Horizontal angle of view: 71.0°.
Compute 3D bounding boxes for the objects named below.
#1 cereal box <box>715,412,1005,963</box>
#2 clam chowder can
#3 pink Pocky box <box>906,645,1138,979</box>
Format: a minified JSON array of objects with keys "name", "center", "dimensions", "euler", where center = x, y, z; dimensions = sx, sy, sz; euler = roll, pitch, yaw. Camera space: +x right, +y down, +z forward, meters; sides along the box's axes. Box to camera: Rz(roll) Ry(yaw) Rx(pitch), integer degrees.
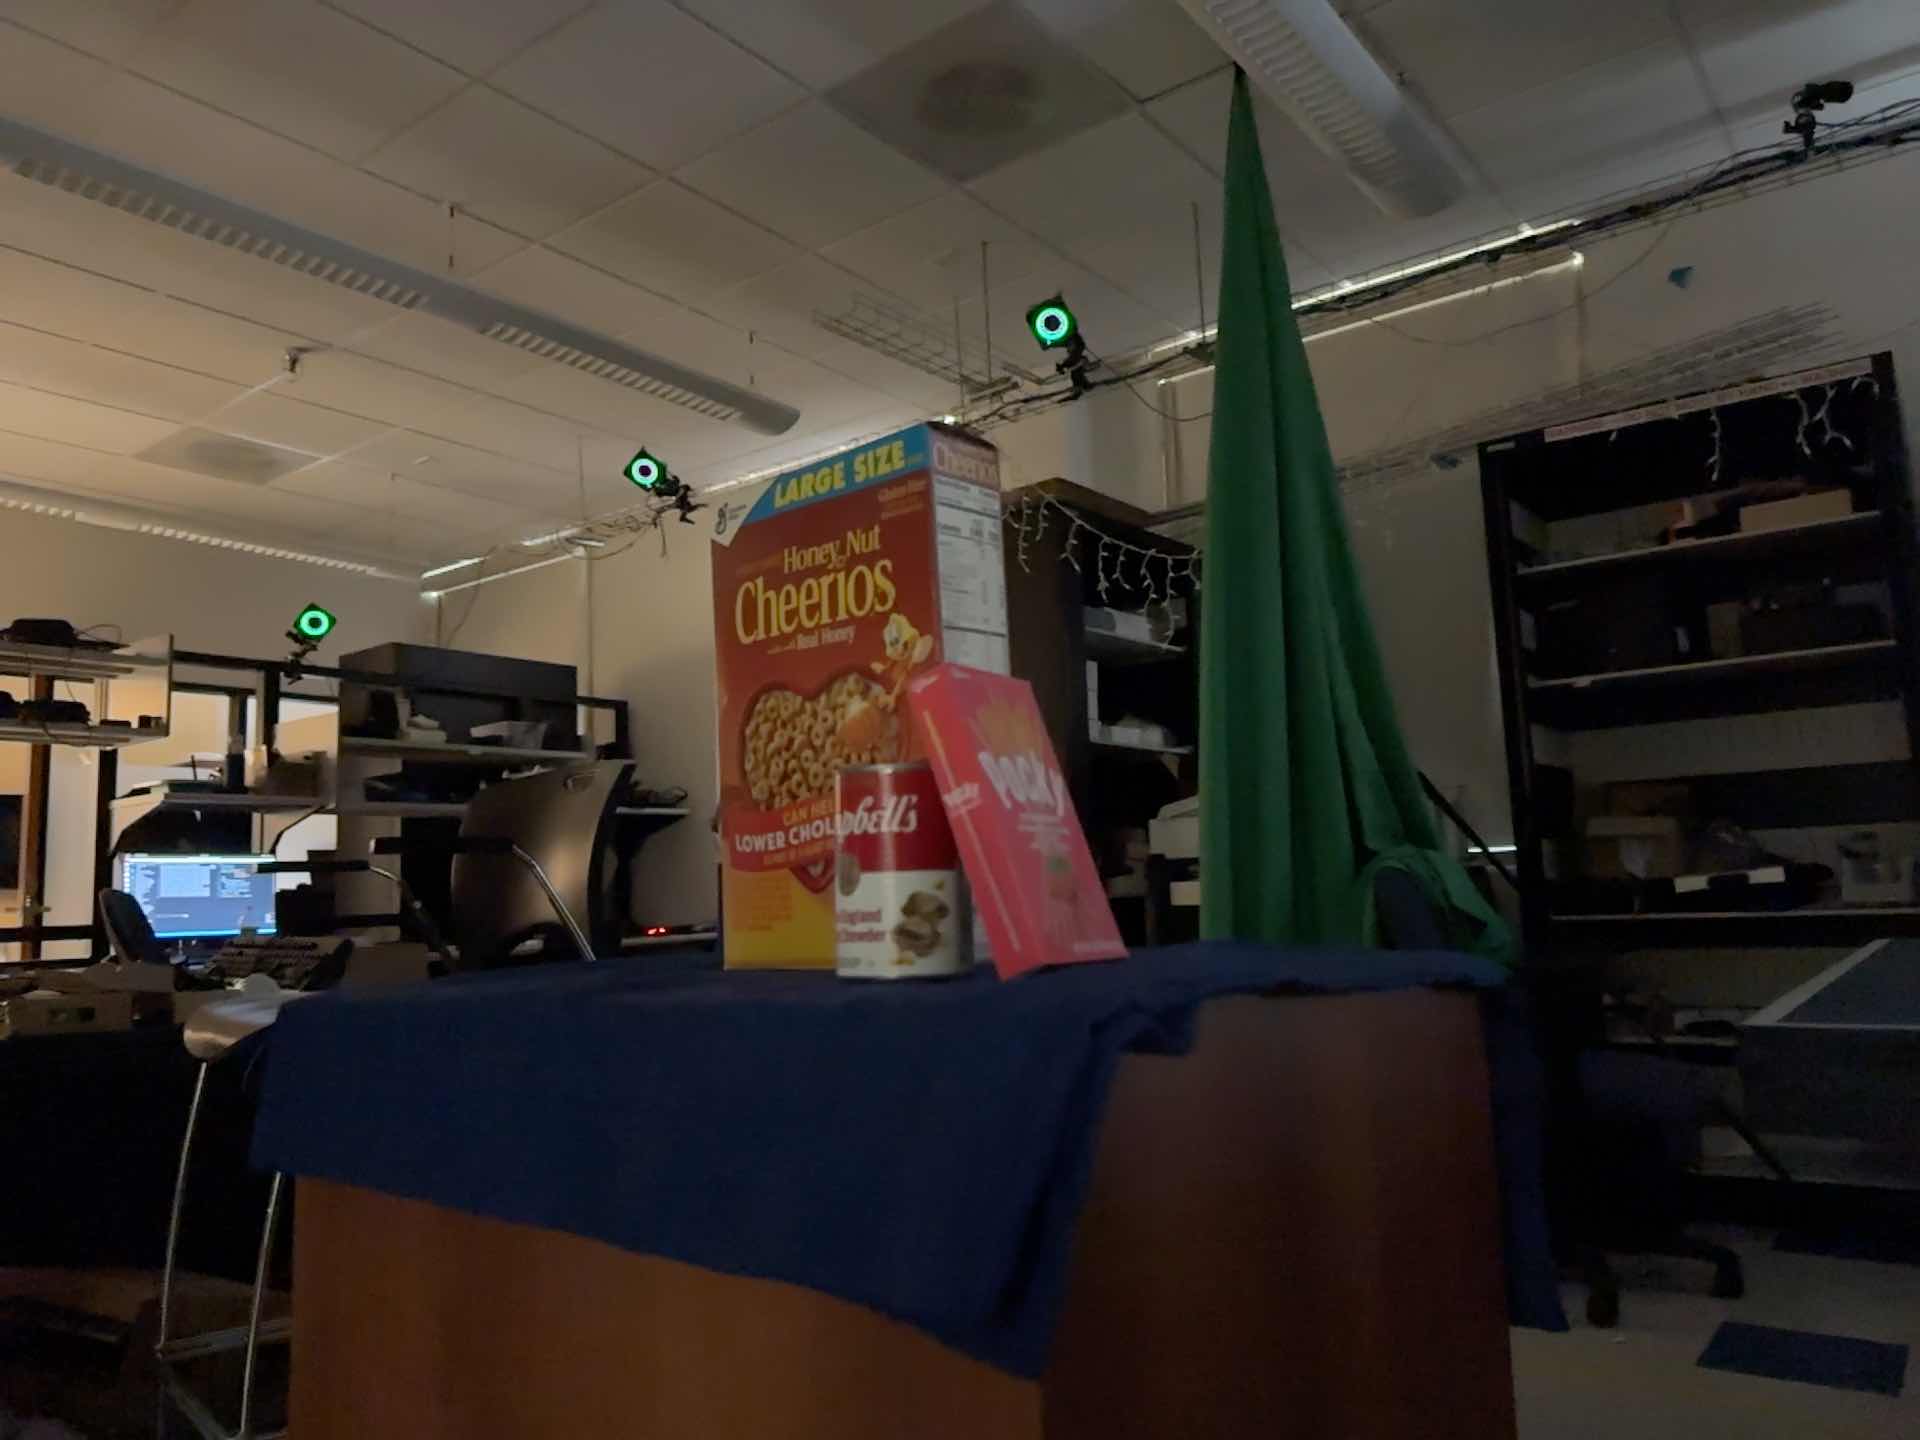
[{"name":"cereal box","center":[-0.066,-0.009,0.817],"dimensions":[0.065,0.297,0.195],"euler":[4,-8,-44]},{"name":"clam chowder can","center":[-0.020,0.075,0.664],"dimensions":[0.068,0.102,0.068],"euler":[0,-4,0]},{"name":"pink Pocky box","center":[0.029,0.042,0.636],"dimensions":[0.029,0.154,0.084],"euler":[-29,-22,28]}]
